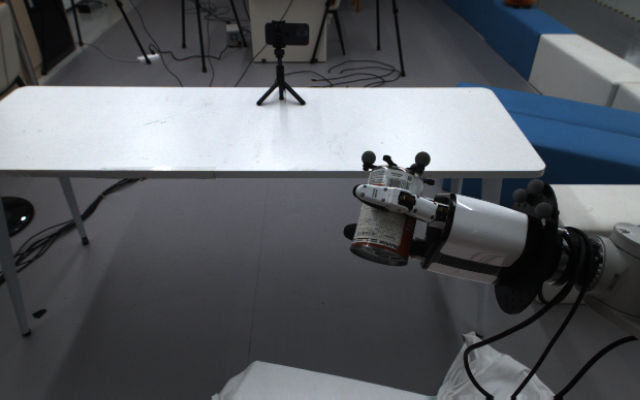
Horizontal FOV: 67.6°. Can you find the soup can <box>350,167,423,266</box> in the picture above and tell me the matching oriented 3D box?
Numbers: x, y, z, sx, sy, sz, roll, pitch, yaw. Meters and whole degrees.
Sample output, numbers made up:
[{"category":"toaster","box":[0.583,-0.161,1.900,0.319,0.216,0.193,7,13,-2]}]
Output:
[{"category":"soup can","box":[0.082,0.018,0.568,0.067,0.067,0.101,11,72,13]}]
